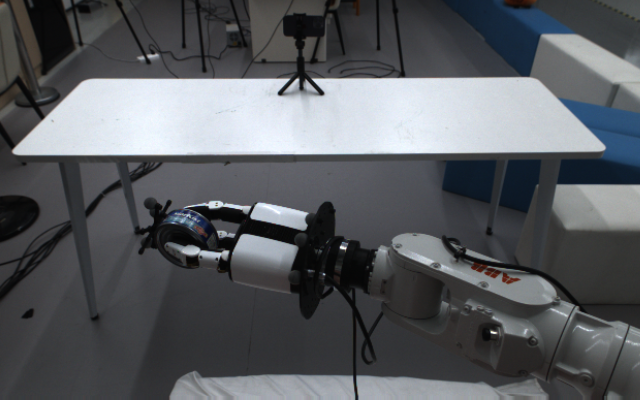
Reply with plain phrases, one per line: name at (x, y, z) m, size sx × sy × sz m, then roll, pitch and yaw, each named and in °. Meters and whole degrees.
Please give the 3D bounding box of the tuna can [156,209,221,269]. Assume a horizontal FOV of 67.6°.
tuna can at (-0.188, 0.057, 0.687) m, size 0.085 × 0.085 × 0.034 m, roll 9°, pitch 37°, yaw 10°
